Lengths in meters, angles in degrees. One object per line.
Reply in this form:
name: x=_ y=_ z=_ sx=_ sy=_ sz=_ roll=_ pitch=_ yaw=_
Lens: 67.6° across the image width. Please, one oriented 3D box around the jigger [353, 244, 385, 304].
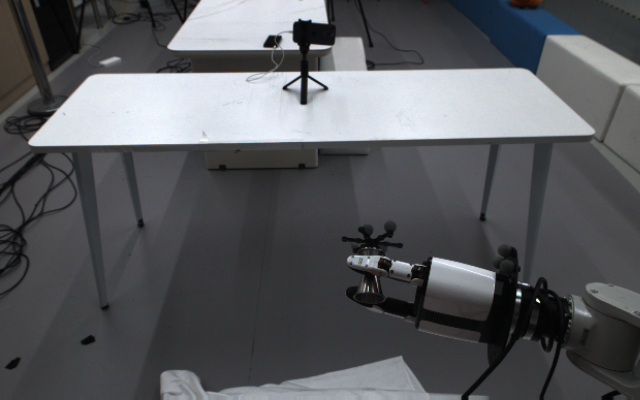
jigger: x=0.068 y=0.103 z=0.678 sx=0.043 sy=0.043 sz=0.071 roll=5 pitch=60 yaw=4
